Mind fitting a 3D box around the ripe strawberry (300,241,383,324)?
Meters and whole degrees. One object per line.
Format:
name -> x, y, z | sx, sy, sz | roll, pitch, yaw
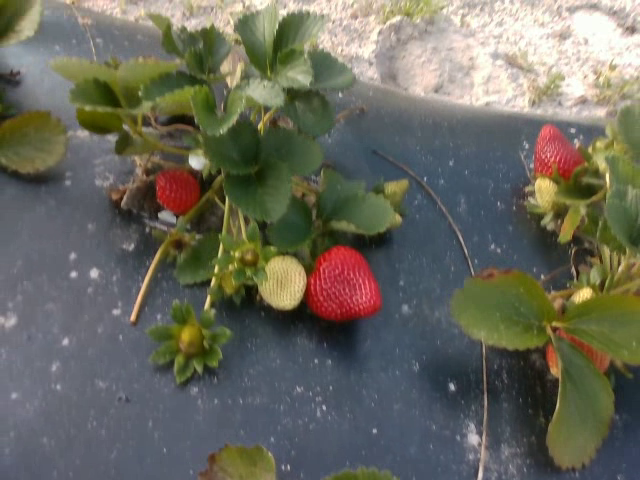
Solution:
ripe strawberry -> 0.018, 0.034, 0.377 | 0.048, 0.051, 0.055 | 34, 4, -37
